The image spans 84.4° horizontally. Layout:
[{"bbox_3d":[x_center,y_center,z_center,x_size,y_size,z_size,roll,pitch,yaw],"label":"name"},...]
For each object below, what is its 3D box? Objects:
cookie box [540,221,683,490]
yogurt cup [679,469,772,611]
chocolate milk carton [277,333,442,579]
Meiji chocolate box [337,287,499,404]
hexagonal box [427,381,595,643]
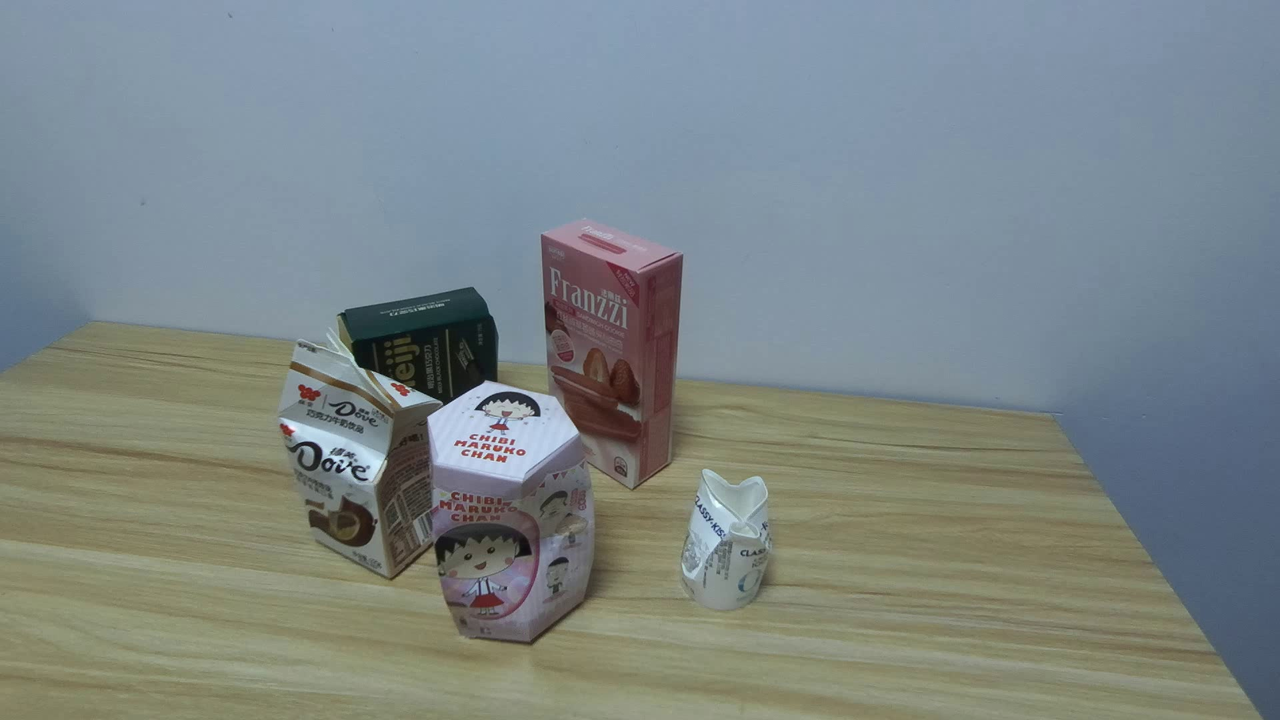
[{"bbox_3d":[-0.023,-0.002,0.534,0.095,0.185,0.048,25,38,34],"label":"cookie box"},{"bbox_3d":[0.056,0.116,0.451,0.055,0.072,0.055,12,33,11],"label":"yogurt cup"},{"bbox_3d":[-0.172,0.054,0.454,0.076,0.156,0.074,18,35,24],"label":"chocolate milk carton"},{"bbox_3d":[-0.178,0.007,0.578,0.123,0.116,0.058,-12,36,-25],"label":"Meiji chocolate box"},{"bbox_3d":[-0.082,0.092,0.420,0.089,0.134,0.093,-13,34,-25],"label":"hexagonal box"}]
